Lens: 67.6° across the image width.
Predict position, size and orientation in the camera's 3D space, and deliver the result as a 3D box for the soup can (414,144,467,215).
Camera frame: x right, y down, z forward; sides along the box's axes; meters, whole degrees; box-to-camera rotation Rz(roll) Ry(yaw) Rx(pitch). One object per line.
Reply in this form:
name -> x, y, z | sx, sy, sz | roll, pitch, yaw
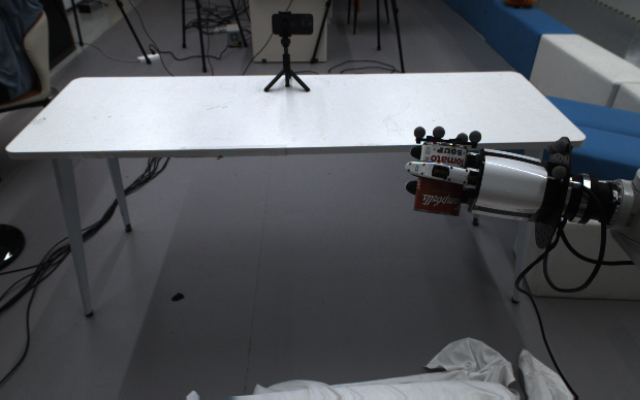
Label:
soup can -> 0.179, -0.031, 0.713 | 0.067, 0.101, 0.067 | 7, 3, 0
